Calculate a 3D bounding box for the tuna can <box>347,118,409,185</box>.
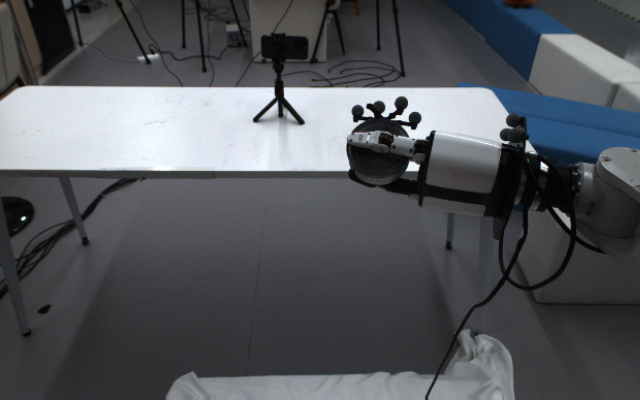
[{"bbox_3d":[0.080,-0.068,0.654,0.085,0.034,0.085,-3,70,7],"label":"tuna can"}]
